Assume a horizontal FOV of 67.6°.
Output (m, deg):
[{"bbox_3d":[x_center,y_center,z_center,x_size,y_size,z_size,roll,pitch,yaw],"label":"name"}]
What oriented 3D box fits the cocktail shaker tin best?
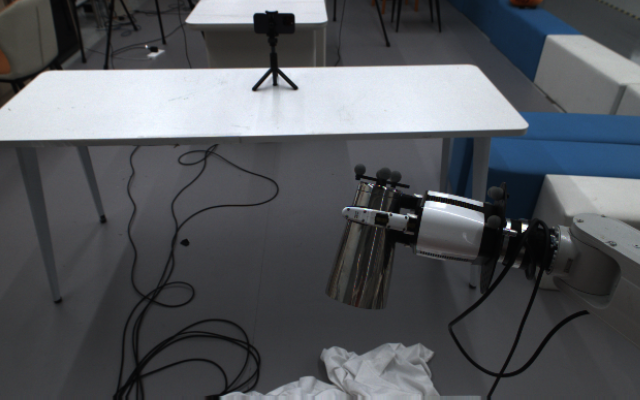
[{"bbox_3d":[0.072,0.060,0.713,0.093,0.170,0.093,12,3,-1],"label":"cocktail shaker tin"}]
